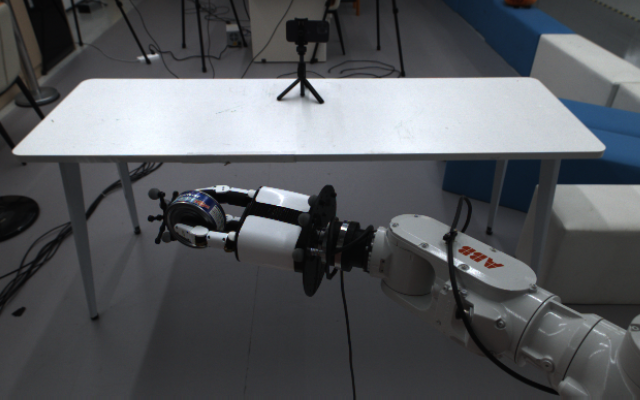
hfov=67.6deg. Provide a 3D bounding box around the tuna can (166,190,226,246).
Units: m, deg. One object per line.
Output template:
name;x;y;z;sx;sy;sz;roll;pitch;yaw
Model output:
tuna can;-0.183;0.033;0.714;0.085;0.085;0.034;9;35;10
